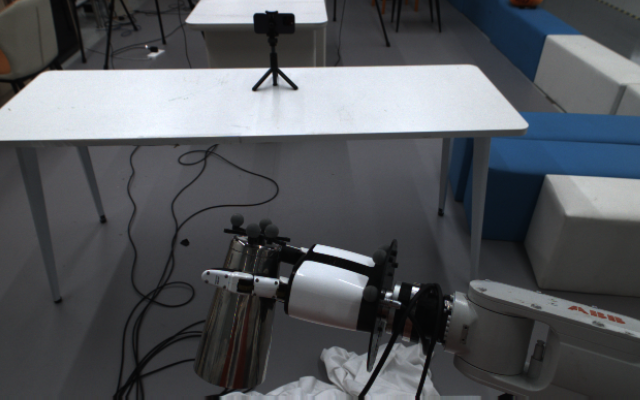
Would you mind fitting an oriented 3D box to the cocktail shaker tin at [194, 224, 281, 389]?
[{"bbox_3d":[-0.097,0.136,0.613,0.093,0.170,0.093,13,3,-1],"label":"cocktail shaker tin"}]
